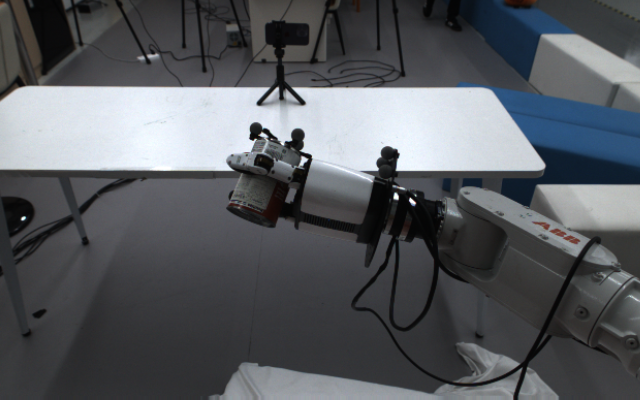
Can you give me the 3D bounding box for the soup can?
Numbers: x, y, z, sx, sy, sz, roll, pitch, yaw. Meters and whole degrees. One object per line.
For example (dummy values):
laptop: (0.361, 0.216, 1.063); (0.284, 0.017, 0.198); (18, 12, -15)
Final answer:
soup can: (-0.072, -0.022, 0.636); (0.067, 0.067, 0.101); (15, 75, 18)
